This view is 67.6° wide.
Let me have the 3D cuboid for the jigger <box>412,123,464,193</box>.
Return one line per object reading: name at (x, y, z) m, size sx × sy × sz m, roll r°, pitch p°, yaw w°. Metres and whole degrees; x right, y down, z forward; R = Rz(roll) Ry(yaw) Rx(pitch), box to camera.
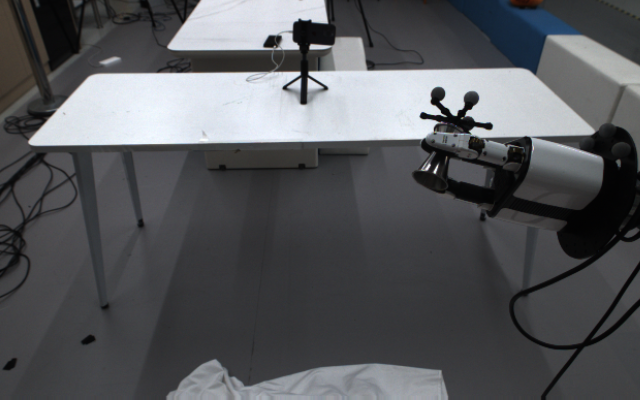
jigger at (0.141, -0.054, 0.568) m, size 0.043 × 0.043 × 0.071 m, roll 19°, pitch 72°, yaw 23°
